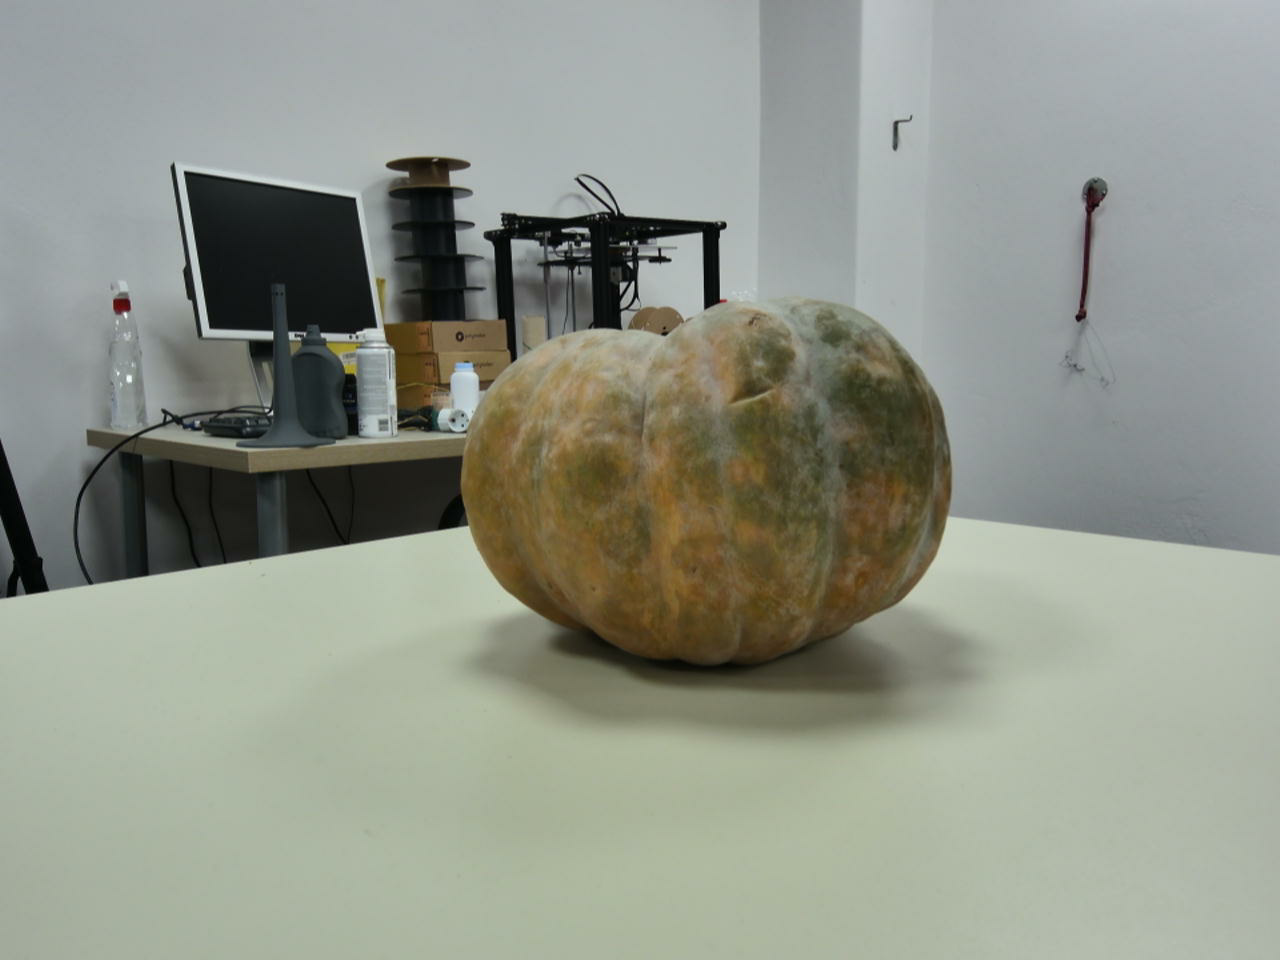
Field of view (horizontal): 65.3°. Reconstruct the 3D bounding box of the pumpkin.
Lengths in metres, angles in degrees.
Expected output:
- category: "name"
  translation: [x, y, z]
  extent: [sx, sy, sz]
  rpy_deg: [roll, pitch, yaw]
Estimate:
- category: "pumpkin"
  translation: [0.035, -0.002, 0.511]
  extent: [0.252, 0.168, 0.252]
  rpy_deg: [0, 5, 0]
